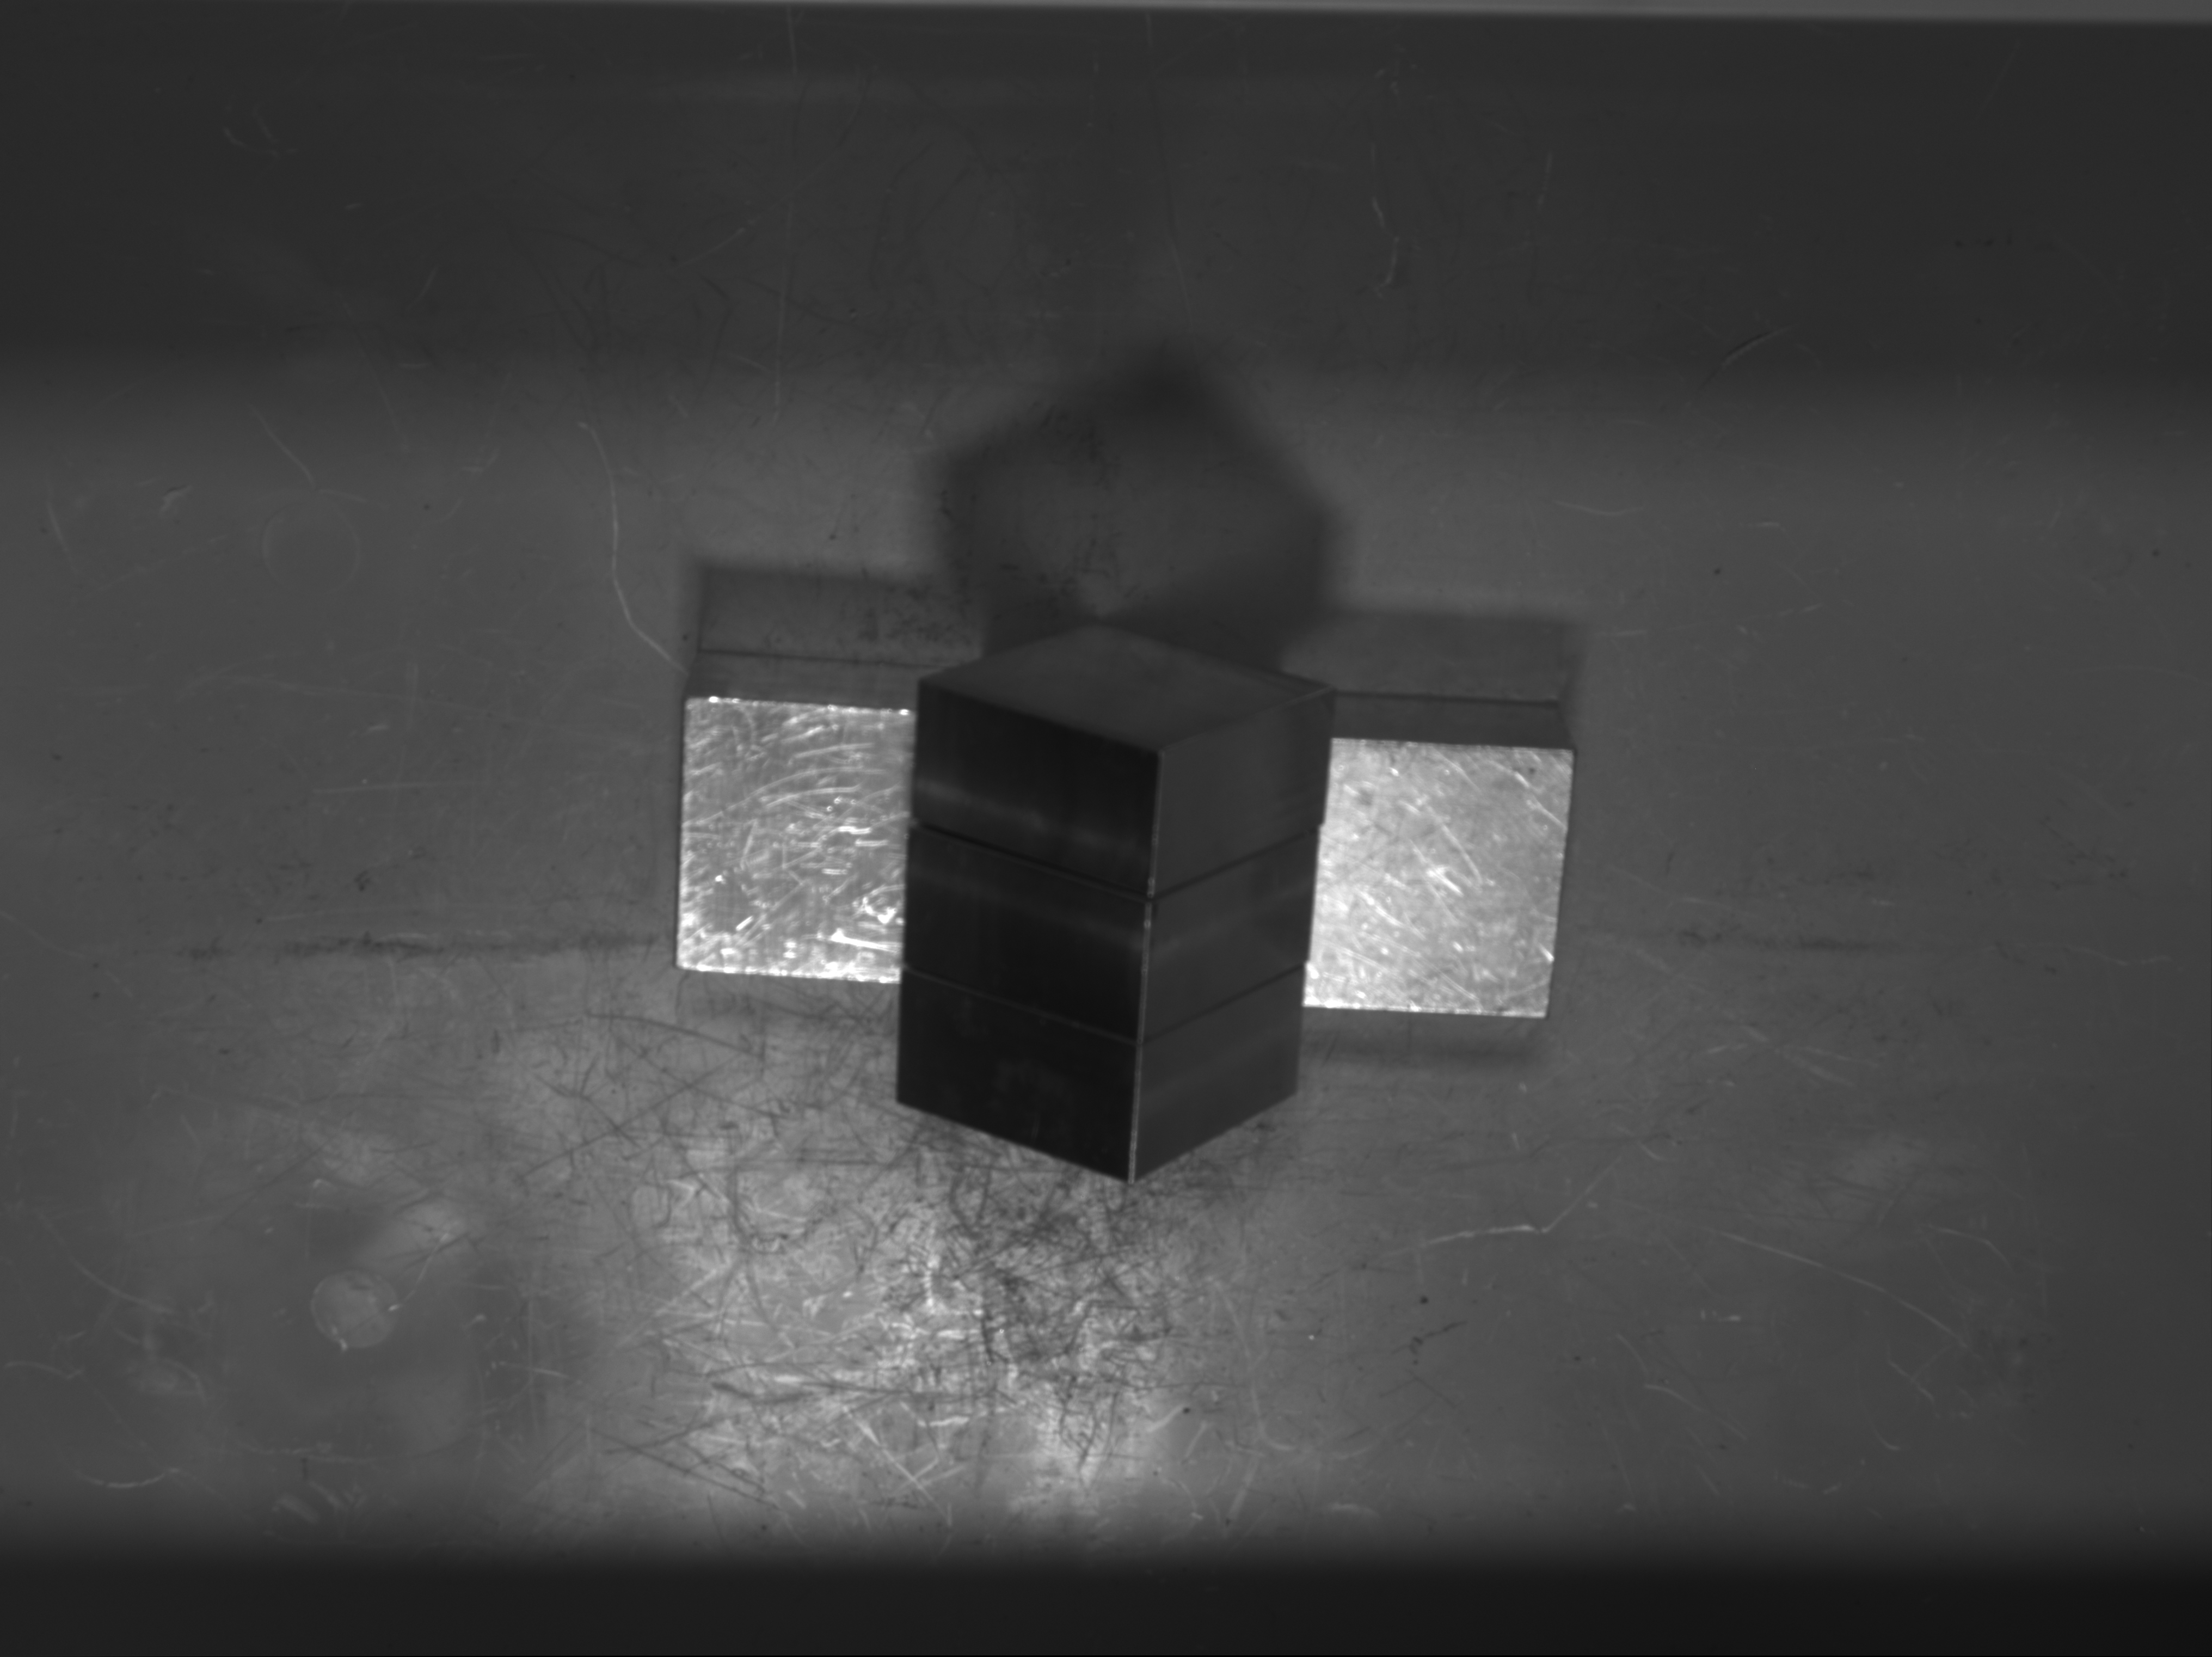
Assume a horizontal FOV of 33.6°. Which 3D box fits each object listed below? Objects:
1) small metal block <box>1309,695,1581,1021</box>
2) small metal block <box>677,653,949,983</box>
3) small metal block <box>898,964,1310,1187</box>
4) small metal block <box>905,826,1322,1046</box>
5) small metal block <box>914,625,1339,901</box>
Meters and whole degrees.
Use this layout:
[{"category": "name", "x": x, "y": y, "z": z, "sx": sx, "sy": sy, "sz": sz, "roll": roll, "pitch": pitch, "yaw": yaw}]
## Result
[{"category": "small metal block", "x": 0.055, "y": 0.005, "z": 0.645, "sx": 0.050, "sy": 0.025, "sz": 0.050, "roll": 3, "pitch": 110, "yaw": -2}, {"category": "small metal block", "x": -0.048, "y": -0.002, "z": 0.641, "sx": 0.050, "sy": 0.025, "sz": 0.050, "roll": 4, "pitch": 110, "yaw": -2}, {"category": "small metal block", "x": 0.000, "y": 0.035, "z": 0.631, "sx": 0.050, "sy": 0.050, "sz": 0.025, "roll": 16, "pitch": 113, "yaw": 33}, {"category": "small metal block", "x": 0.001, "y": 0.012, "z": 0.622, "sx": 0.050, "sy": 0.050, "sz": 0.025, "roll": 16, "pitch": 113, "yaw": 33}, {"category": "small metal block", "x": 0.004, "y": -0.012, "z": 0.613, "sx": 0.050, "sy": 0.050, "sz": 0.025, "roll": 17, "pitch": 113, "yaw": 32}]
